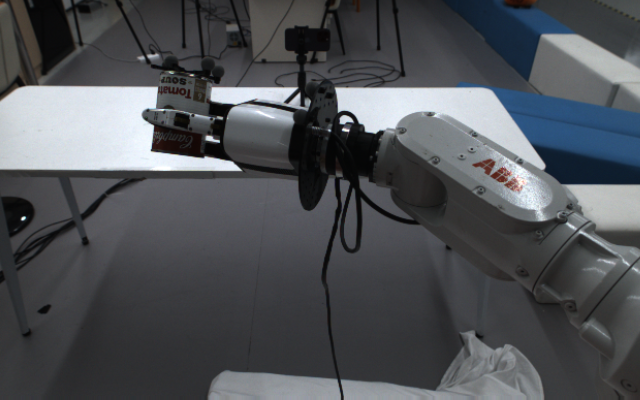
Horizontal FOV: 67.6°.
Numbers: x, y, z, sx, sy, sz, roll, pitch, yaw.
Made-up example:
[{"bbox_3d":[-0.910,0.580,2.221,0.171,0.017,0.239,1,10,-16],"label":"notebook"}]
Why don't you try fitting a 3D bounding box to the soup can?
[{"bbox_3d":[-0.180,-0.108,0.630,0.067,0.101,0.067,7,3,0],"label":"soup can"}]
